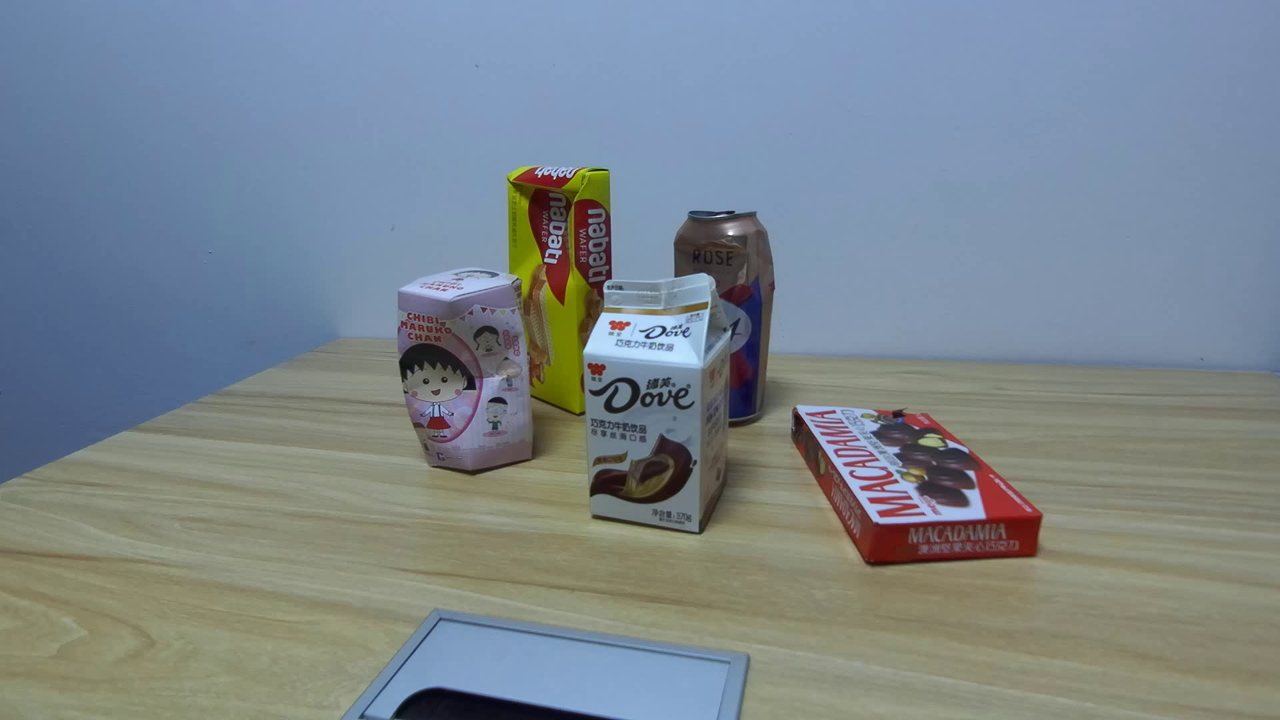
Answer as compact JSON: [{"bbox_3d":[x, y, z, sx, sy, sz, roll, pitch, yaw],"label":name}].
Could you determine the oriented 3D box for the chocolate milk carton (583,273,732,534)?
[{"bbox_3d":[0.013,0.020,0.434,0.075,0.148,0.074,5,19,18],"label":"chocolate milk carton"}]

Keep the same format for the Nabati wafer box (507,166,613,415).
[{"bbox_3d":[-0.070,-0.060,0.607,0.042,0.203,0.096,-16,23,-43],"label":"Nabati wafer box"}]

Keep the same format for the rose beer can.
[{"bbox_3d":[0.068,-0.035,0.565,0.065,0.167,0.075,-15,19,-38],"label":"rose beer can"}]

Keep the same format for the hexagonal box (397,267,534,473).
[{"bbox_3d":[-0.126,0.006,0.524,0.089,0.134,0.093,-5,19,-6],"label":"hexagonal box"}]
